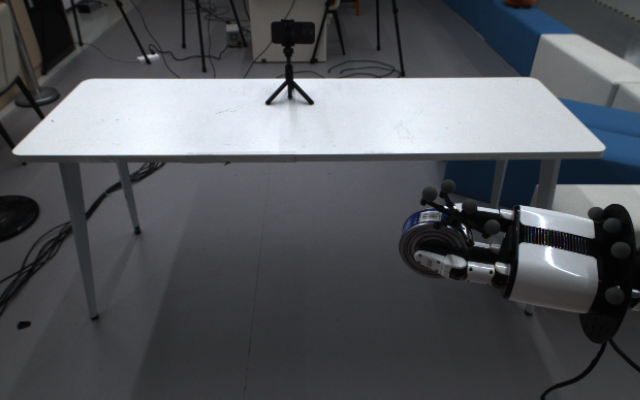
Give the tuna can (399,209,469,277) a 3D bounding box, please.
[{"bbox_3d":[0.144,0.059,0.585,0.085,0.085,0.034,12,35,14],"label":"tuna can"}]
